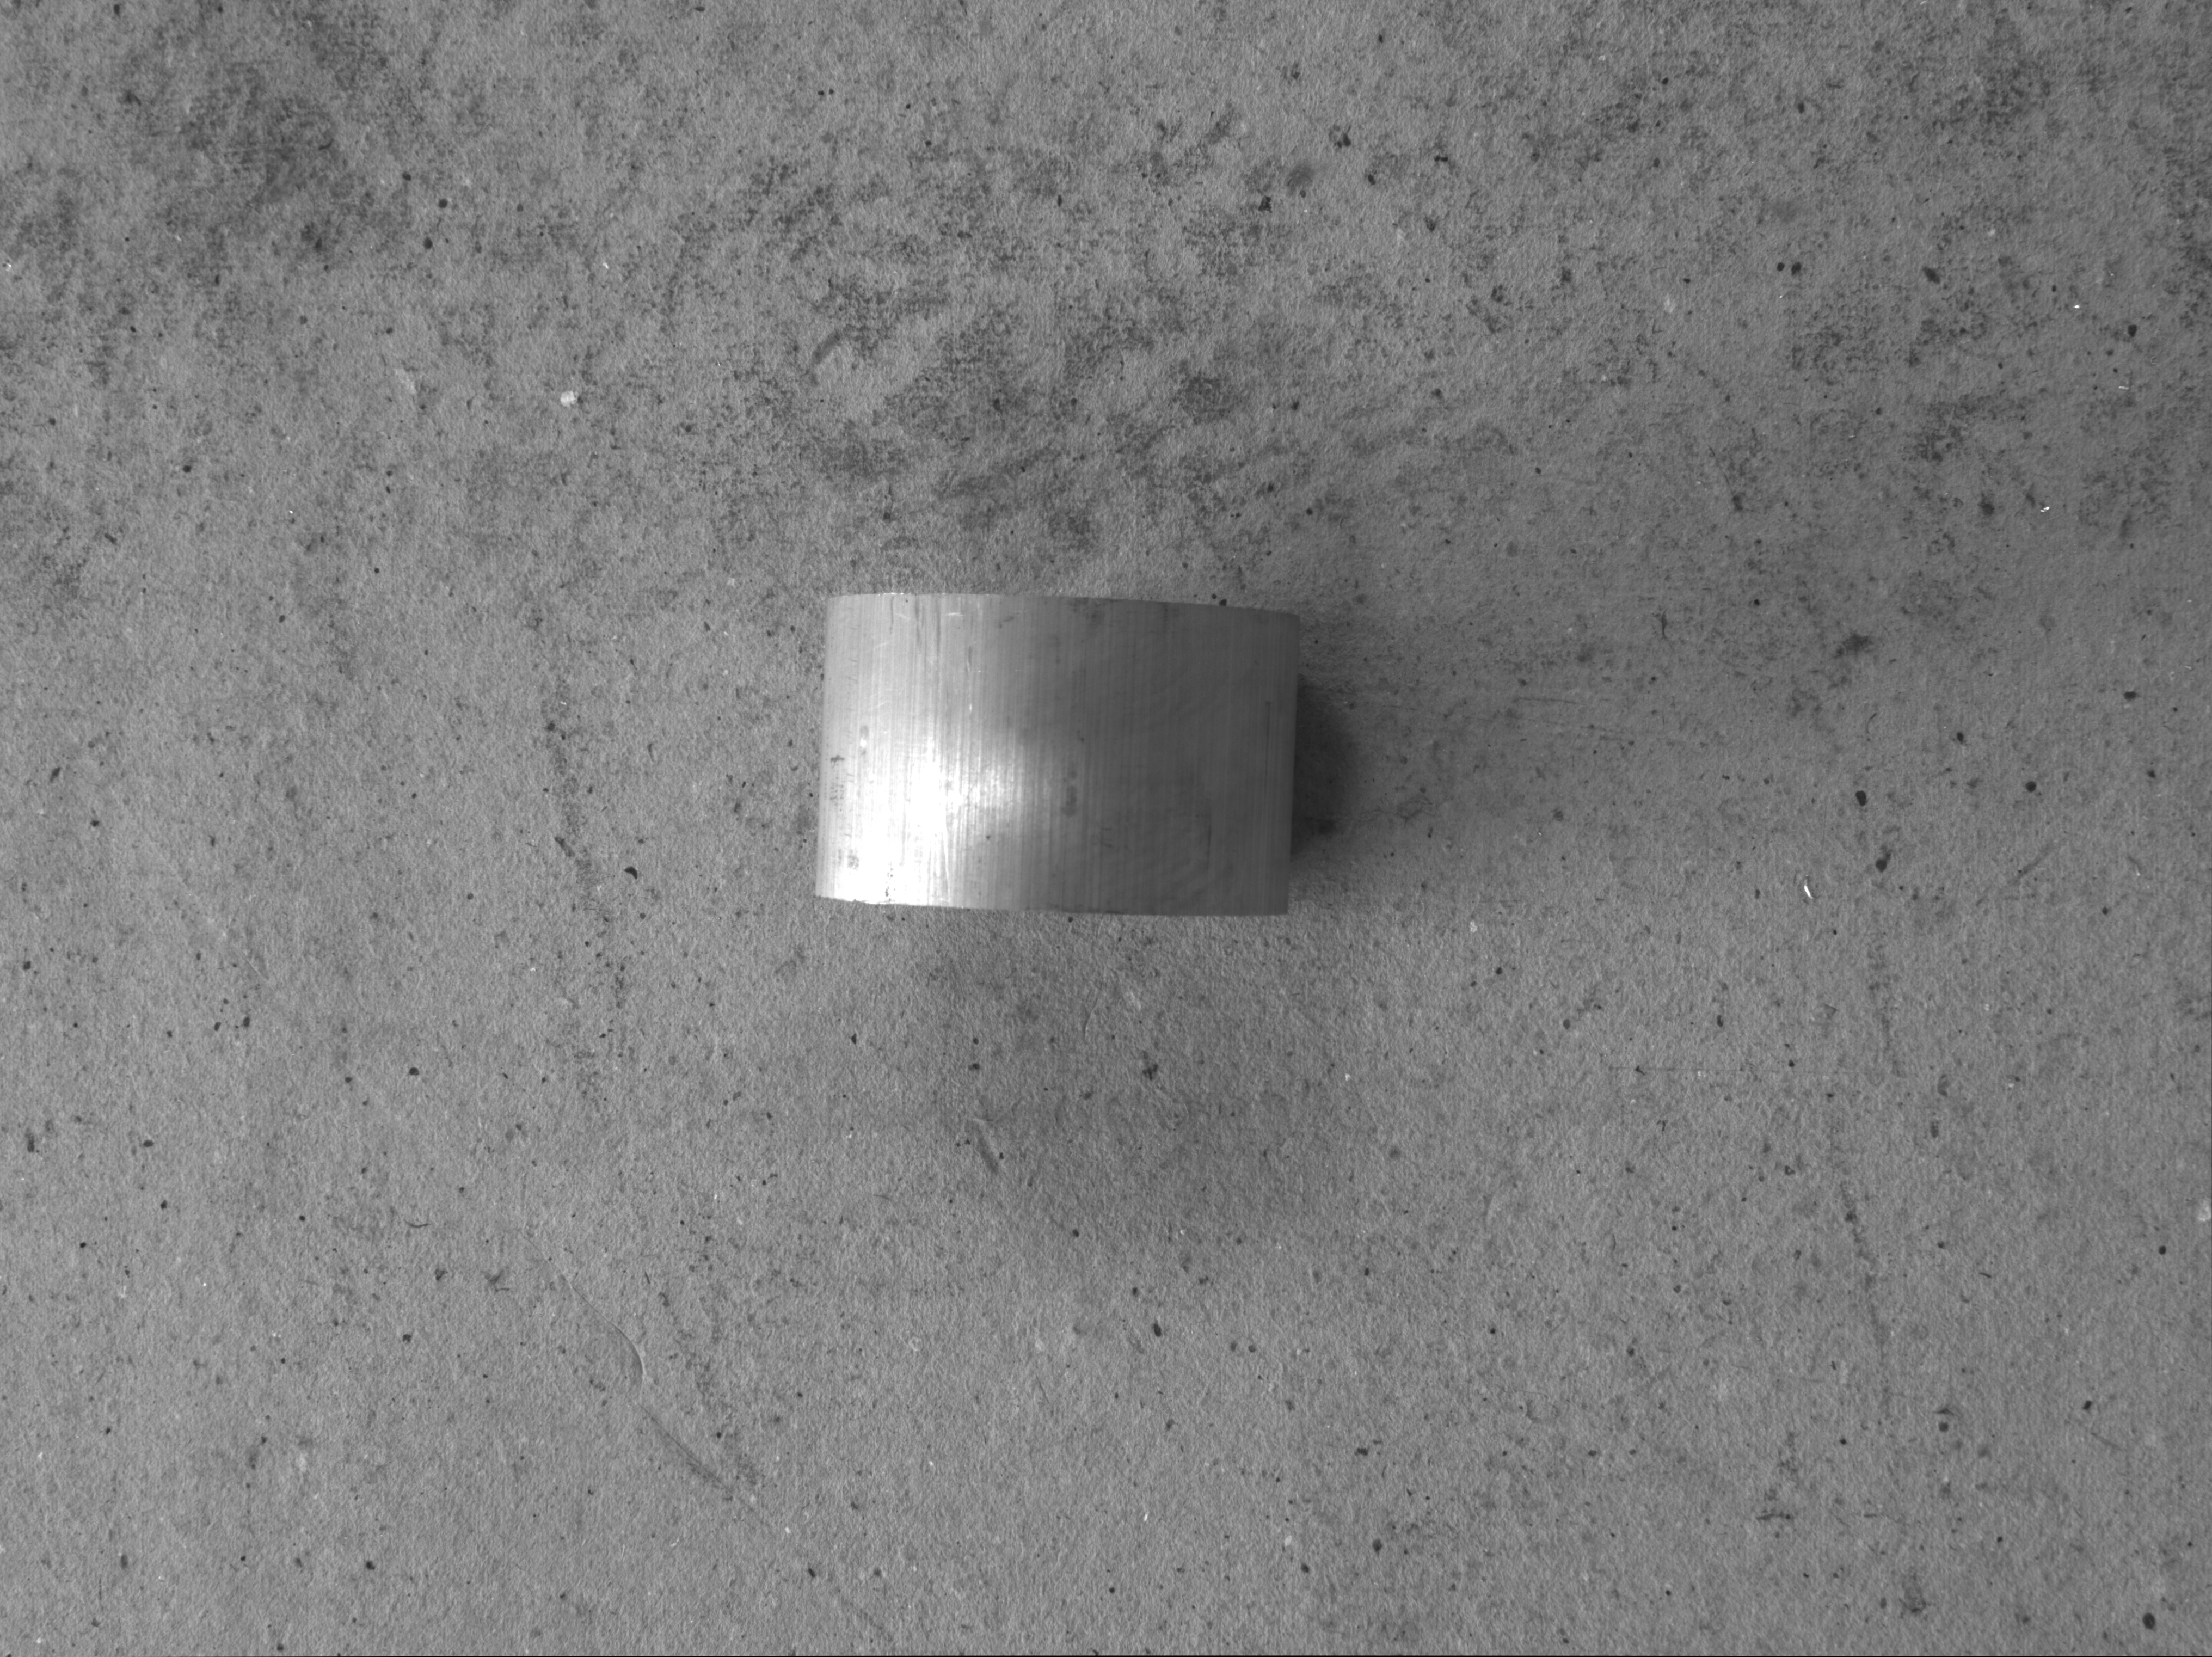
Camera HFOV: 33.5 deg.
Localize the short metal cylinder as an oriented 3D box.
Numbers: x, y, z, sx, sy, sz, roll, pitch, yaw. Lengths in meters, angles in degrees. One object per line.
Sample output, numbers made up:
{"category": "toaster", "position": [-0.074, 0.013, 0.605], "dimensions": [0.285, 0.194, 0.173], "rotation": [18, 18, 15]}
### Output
{"category": "short metal cylinder", "position": [-0.008, -0.012, 0.621], "dimensions": [0.080, 0.080, 0.050], "rotation": [2, 91, 20]}
